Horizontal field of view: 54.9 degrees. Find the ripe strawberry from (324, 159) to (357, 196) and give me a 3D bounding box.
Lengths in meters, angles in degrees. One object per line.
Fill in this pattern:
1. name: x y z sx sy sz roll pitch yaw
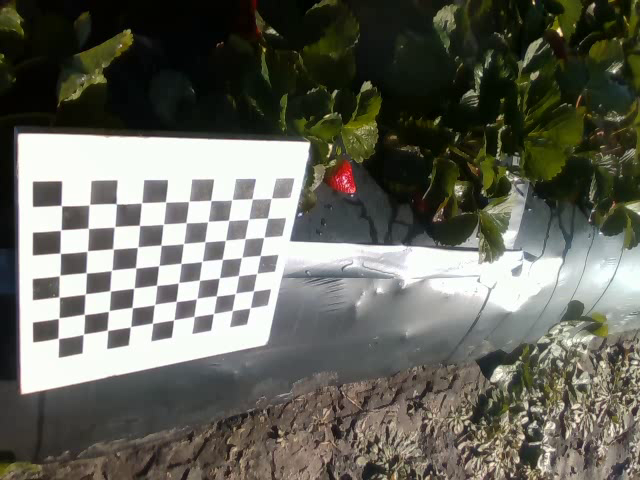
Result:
1. ripe strawberry: 0.031 -0.077 0.785 0.029 0.048 0.054 42 -7 47
